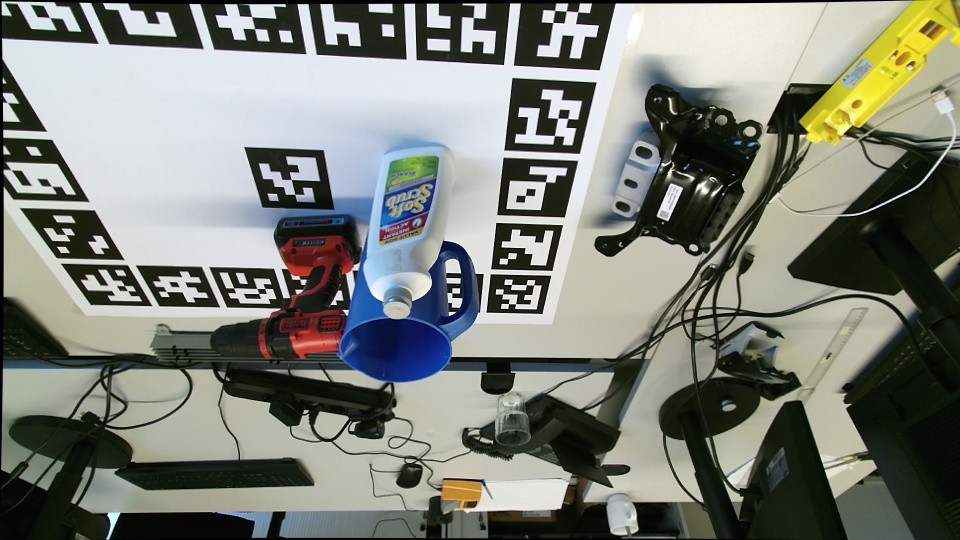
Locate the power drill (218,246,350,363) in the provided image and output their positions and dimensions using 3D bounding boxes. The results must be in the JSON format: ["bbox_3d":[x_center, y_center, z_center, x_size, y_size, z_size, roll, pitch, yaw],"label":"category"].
[{"bbox_3d":[-0.265,0.044,0.732,0.185,0.186,0.057,1,131,4],"label":"power drill"}]

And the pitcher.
[{"bbox_3d":[-0.095,0.040,0.723,0.189,0.241,0.133,-19,130,14],"label":"pitcher"}]

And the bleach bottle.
[{"bbox_3d":[-0.077,-0.020,0.639,0.103,0.249,0.068,-5,133,1],"label":"bleach bottle"}]
